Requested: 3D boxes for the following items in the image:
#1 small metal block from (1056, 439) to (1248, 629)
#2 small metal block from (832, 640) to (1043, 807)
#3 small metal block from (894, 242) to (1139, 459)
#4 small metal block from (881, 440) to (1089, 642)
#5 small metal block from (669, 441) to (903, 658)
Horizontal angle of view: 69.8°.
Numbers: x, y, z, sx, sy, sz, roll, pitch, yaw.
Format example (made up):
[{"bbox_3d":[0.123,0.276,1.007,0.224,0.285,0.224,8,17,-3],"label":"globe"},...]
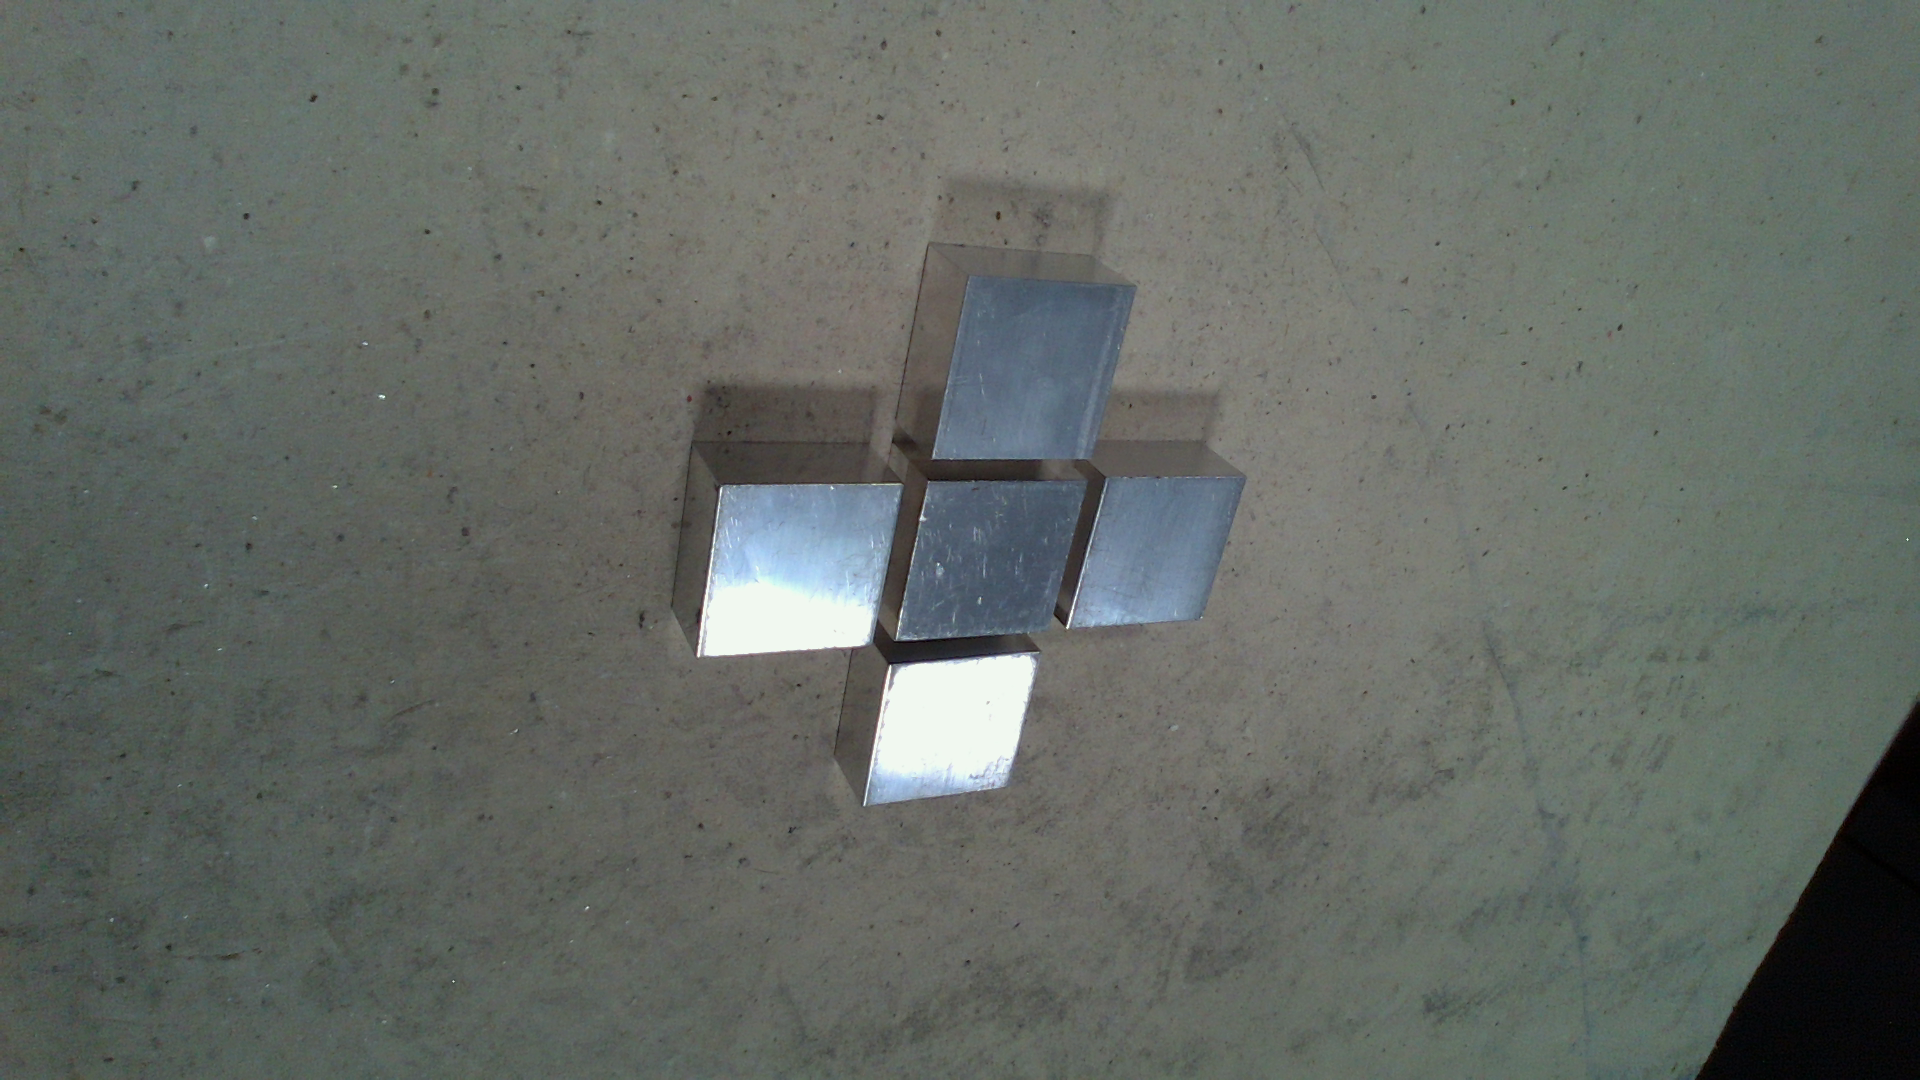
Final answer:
[{"bbox_3d":[0.053,-0.002,0.417,0.050,0.025,0.050,-2,119,-27],"label":"small metal block"},{"bbox_3d":[-0.008,0.050,0.416,0.050,0.025,0.050,-2,119,-27],"label":"small metal block"},{"bbox_3d":[0.014,-0.050,0.367,0.050,0.025,0.050,-2,119,-27],"label":"small metal block"},{"bbox_3d":[0.004,0.000,0.391,0.050,0.025,0.050,-2,119,-27],"label":"small metal block"},{"bbox_3d":[-0.047,0.002,0.365,0.050,0.025,0.050,-2,119,-27],"label":"small metal block"}]
